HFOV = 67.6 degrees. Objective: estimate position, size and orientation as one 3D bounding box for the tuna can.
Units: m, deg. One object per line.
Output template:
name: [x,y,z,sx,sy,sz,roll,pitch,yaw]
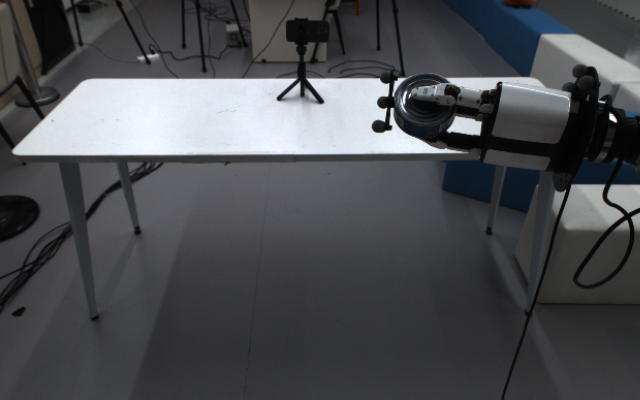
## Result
tuna can: [0.145,-0.132,0.664,0.085,0.034,0.085,-2,68,6]
